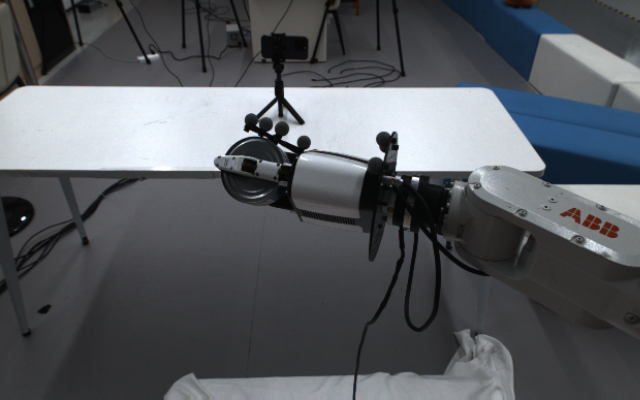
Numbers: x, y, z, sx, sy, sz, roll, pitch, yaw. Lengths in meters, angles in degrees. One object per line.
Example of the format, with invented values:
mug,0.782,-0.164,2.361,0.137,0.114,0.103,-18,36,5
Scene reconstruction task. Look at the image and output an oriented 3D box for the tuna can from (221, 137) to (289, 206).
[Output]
tuna can,-0.079,-0.037,0.617,0.085,0.085,0.034,13,-6,16
